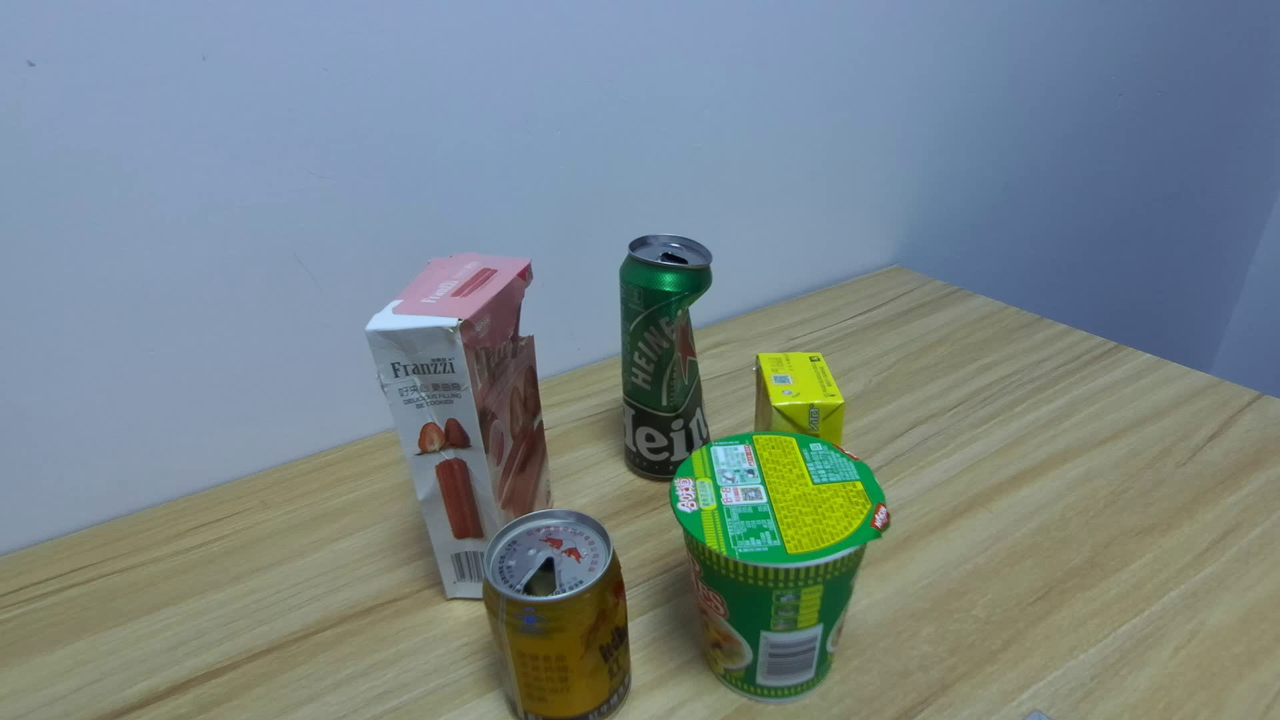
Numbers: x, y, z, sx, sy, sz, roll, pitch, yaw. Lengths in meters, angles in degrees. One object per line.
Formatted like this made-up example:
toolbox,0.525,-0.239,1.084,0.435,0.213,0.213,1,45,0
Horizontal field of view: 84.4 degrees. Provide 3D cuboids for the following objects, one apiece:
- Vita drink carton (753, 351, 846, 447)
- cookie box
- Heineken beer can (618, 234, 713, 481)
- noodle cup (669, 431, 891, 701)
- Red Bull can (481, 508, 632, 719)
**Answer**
Vita drink carton,0.097,0.054,0.446,0.043,0.109,0.076,-2,28,1
cookie box,-0.095,0.042,0.417,0.059,0.186,0.105,3,28,9
Heineken beer can,0.021,0.002,0.493,0.069,0.168,0.069,-15,31,-29
noodle cup,0.066,0.108,0.353,0.097,0.110,0.097,-3,27,2
Red Bull can,-0.039,0.128,0.347,0.068,0.093,0.068,-3,27,2
